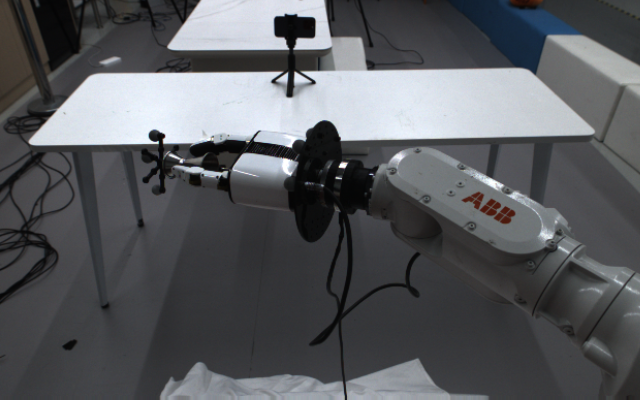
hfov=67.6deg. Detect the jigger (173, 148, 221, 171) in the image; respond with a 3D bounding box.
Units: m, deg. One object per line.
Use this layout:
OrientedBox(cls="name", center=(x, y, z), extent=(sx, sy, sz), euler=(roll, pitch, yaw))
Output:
OrientedBox(cls="jigger", center=(-0.181, -0.051, 0.698), extent=(0.071, 0.043, 0.043), euler=(6, 34, 20))
